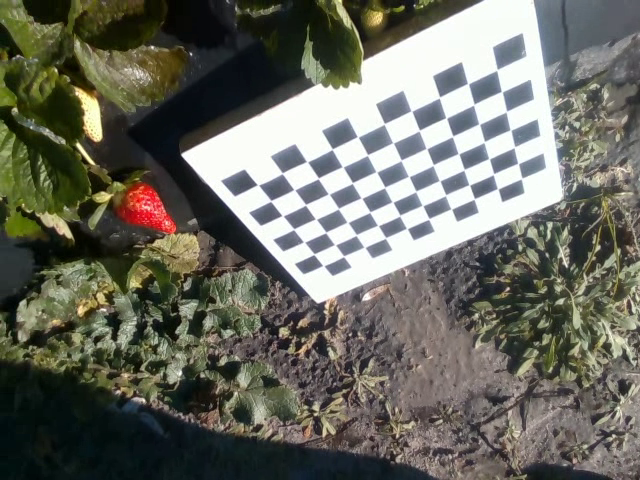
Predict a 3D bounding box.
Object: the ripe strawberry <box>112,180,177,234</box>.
[{"bbox_3d":[-0.150,-0.024,0.535,0.048,0.040,0.068,-36,-50,26],"label":"ripe strawberry"}]
